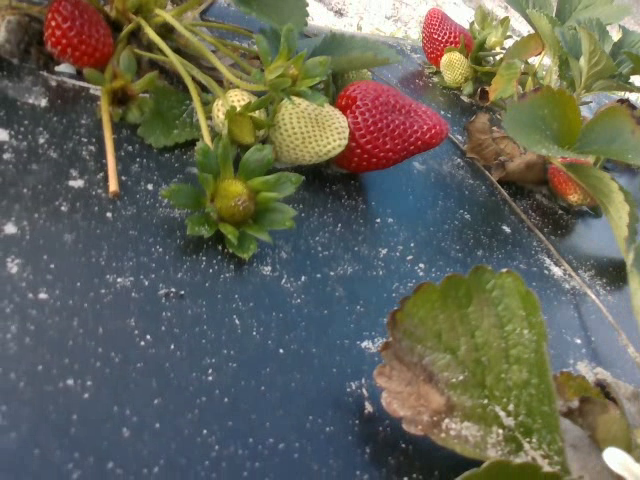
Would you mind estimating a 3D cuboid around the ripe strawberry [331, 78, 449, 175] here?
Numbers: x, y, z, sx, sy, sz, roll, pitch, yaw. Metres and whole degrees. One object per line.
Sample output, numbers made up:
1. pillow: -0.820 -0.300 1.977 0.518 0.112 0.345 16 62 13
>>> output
1. ripe strawberry: 0.036 -0.053 0.296 0.055 0.051 0.048 11 -21 25
